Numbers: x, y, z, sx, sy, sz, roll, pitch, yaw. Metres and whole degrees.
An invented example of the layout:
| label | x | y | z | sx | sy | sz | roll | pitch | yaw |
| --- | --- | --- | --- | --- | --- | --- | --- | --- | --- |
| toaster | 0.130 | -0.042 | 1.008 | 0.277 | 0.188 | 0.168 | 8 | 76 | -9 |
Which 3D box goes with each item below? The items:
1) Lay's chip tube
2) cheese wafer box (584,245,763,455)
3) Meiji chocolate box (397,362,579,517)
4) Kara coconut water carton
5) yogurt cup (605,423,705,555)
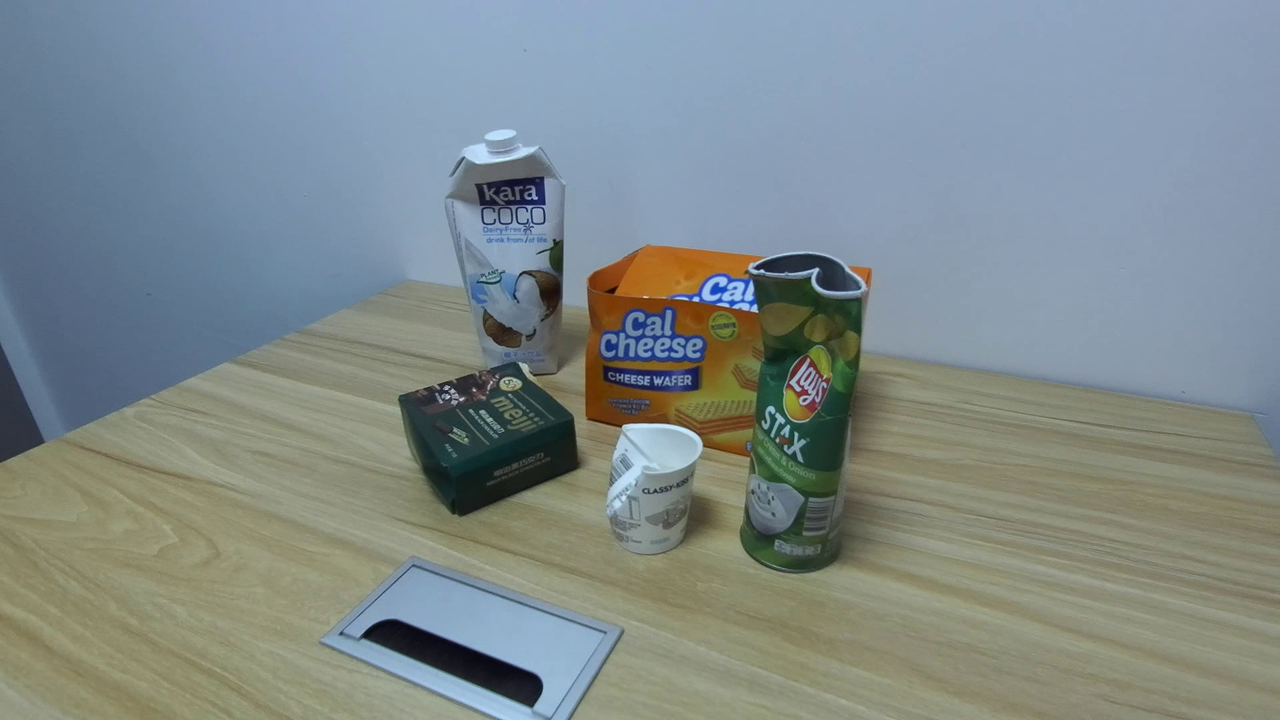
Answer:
| label | x | y | z | sx | sy | sz | roll | pitch | yaw |
| --- | --- | --- | --- | --- | --- | --- | --- | --- | --- |
| Lay's chip tube | 0.101 | 0.035 | 0.440 | 0.077 | 0.201 | 0.069 | 10 | 29 | 26 |
| cheese wafer box | 0.073 | -0.011 | 0.624 | 0.229 | 0.132 | 0.152 | 11 | 30 | 23 |
| Meiji chocolate box | -0.122 | 0.061 | 0.573 | 0.123 | 0.058 | 0.115 | -19 | 34 | -28 |
| Kara coconut water carton | -0.126 | -0.100 | 0.690 | 0.115 | 0.239 | 0.069 | -5 | 27 | -6 |
| yogurt cup | 0.009 | 0.088 | 0.485 | 0.067 | 0.070 | 0.067 | -1 | 25 | 1 |
